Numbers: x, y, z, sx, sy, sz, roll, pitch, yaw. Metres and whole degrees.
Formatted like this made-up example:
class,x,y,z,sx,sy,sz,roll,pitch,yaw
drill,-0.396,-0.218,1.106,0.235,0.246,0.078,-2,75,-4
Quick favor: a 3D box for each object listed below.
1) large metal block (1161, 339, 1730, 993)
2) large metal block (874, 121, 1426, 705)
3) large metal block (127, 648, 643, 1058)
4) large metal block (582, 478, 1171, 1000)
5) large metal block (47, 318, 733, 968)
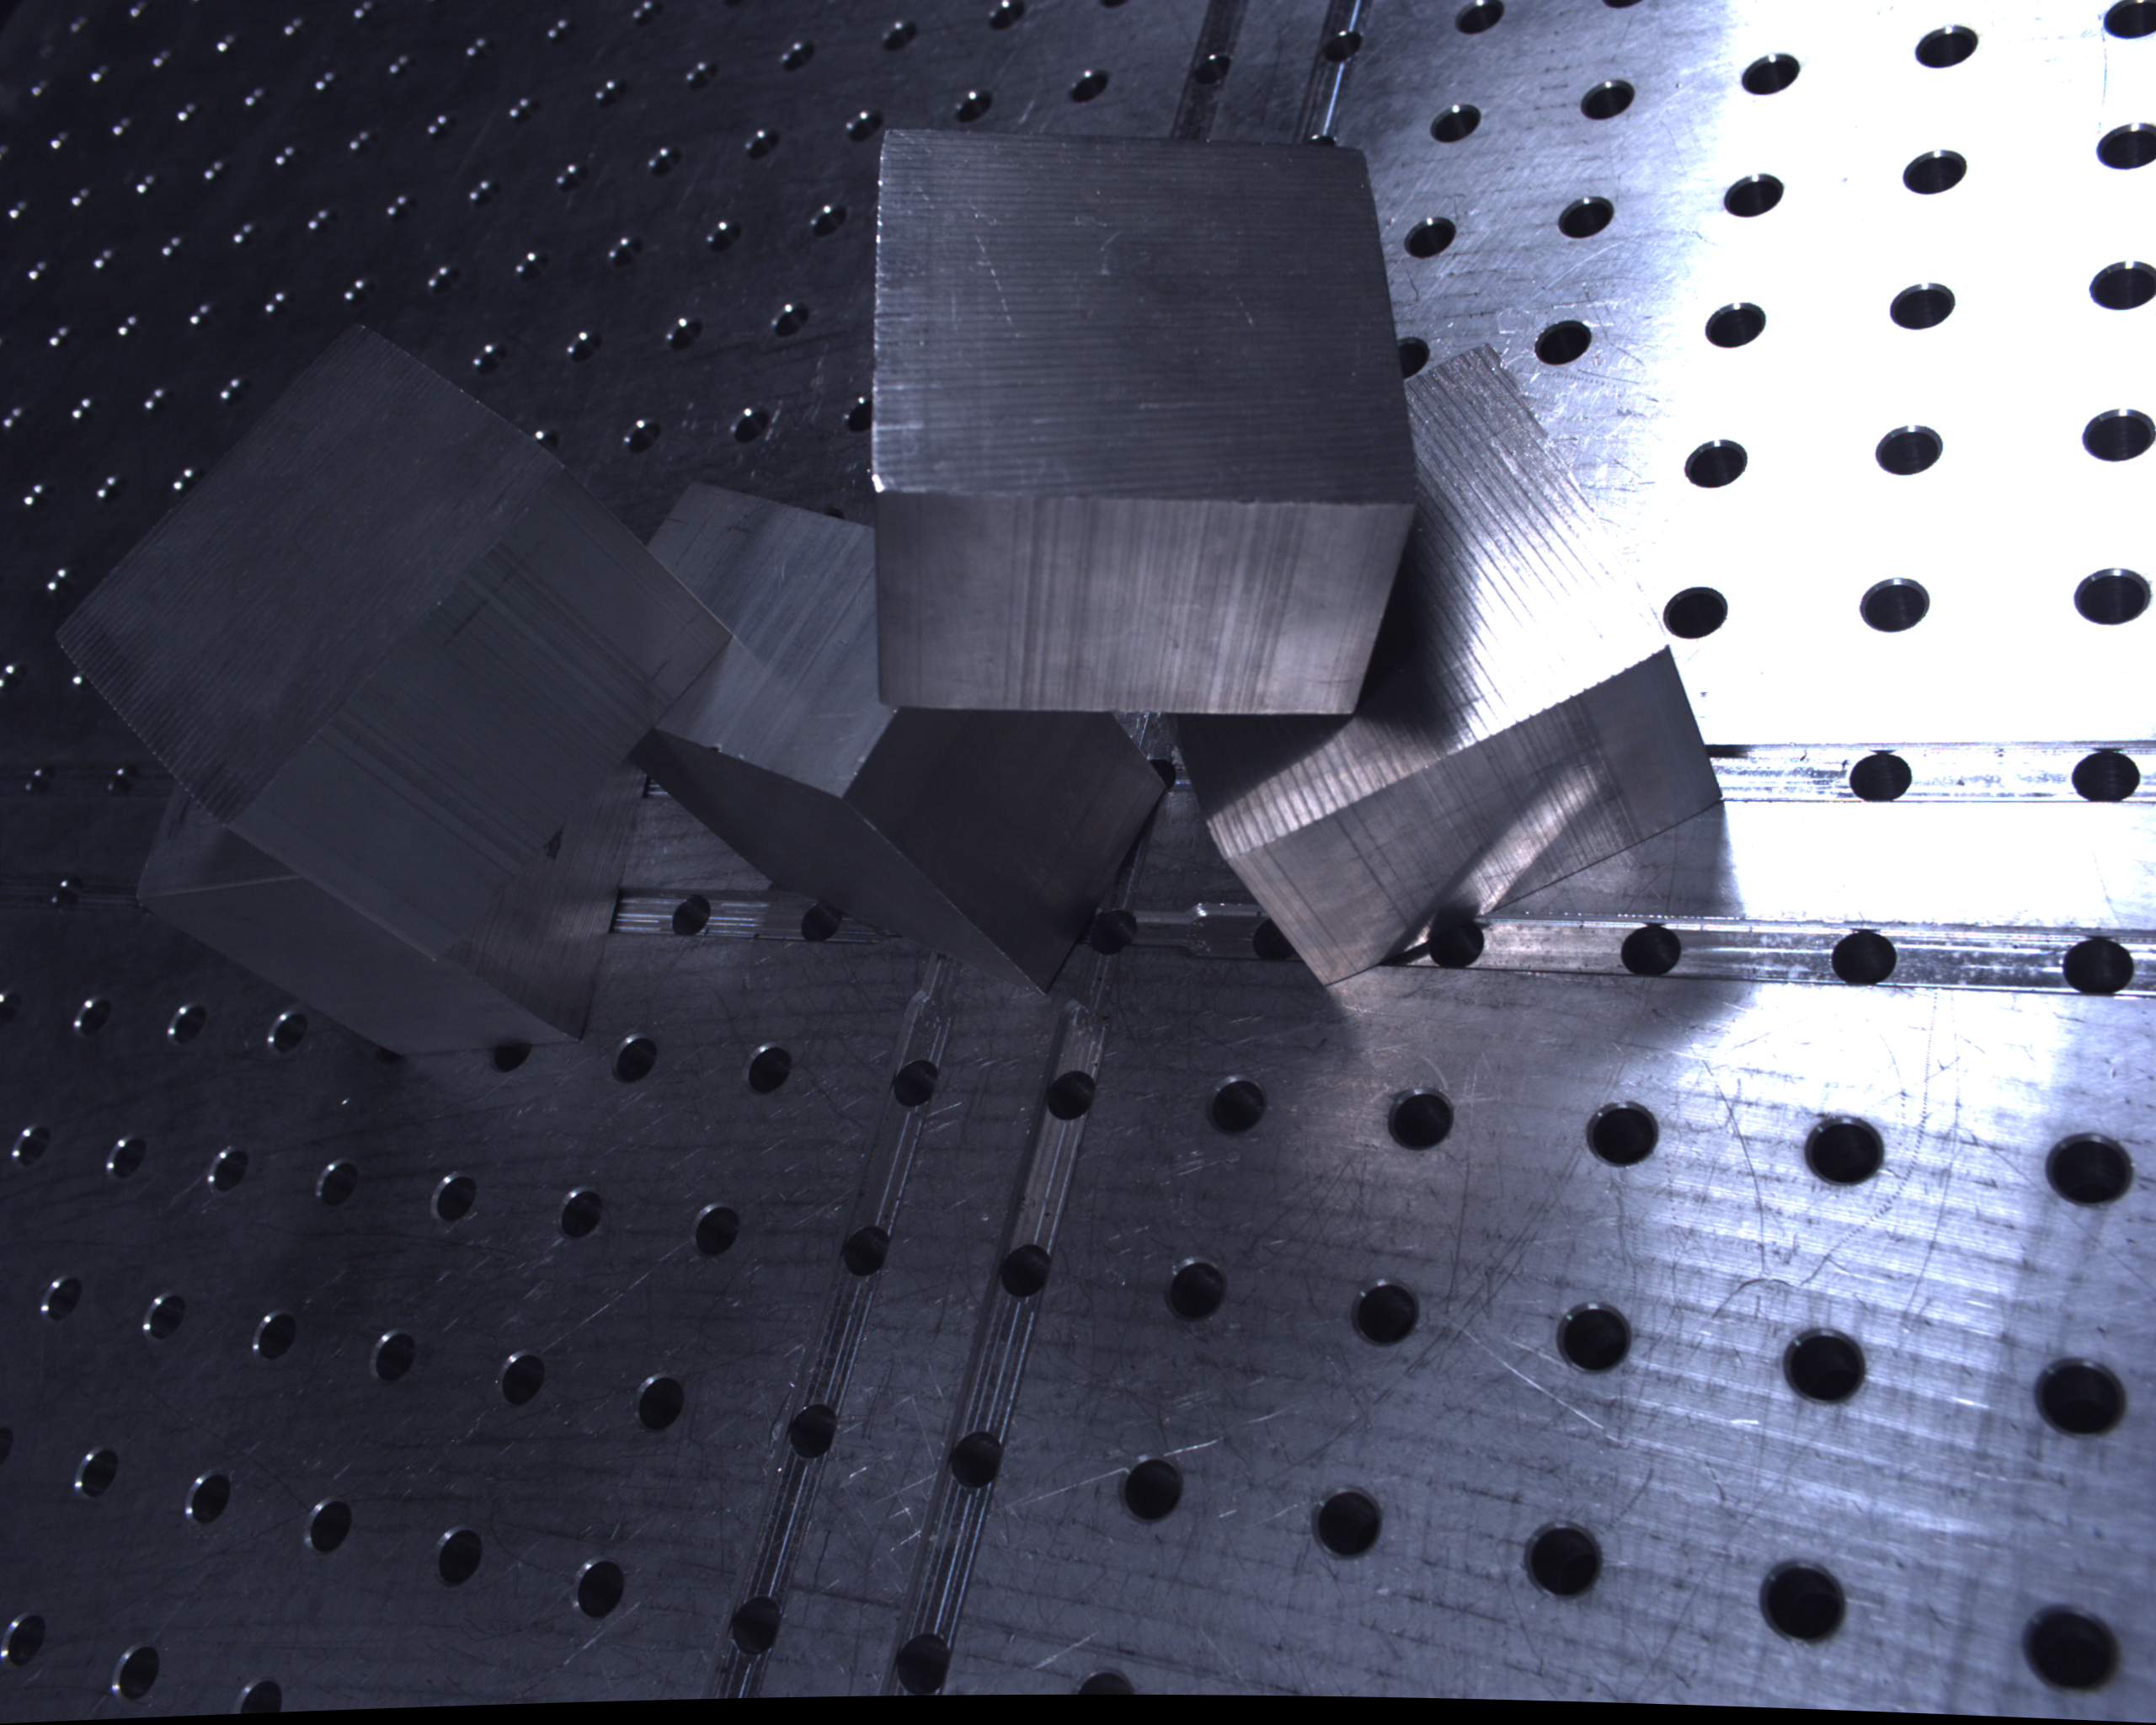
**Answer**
class,x,y,z,sx,sy,sz,roll,pitch,yaw
large metal block,0.060,-0.035,0.382,0.080,0.050,0.080,-27,53,11
large metal block,0.008,-0.074,0.344,0.081,0.050,0.080,1,58,-5
large metal block,-0.144,-0.011,0.452,0.050,0.080,0.080,-6,59,25
large metal block,-0.041,-0.024,0.407,0.080,0.080,0.050,20,73,35
large metal block,-0.124,-0.041,0.377,0.080,0.050,0.080,-49,51,-7
